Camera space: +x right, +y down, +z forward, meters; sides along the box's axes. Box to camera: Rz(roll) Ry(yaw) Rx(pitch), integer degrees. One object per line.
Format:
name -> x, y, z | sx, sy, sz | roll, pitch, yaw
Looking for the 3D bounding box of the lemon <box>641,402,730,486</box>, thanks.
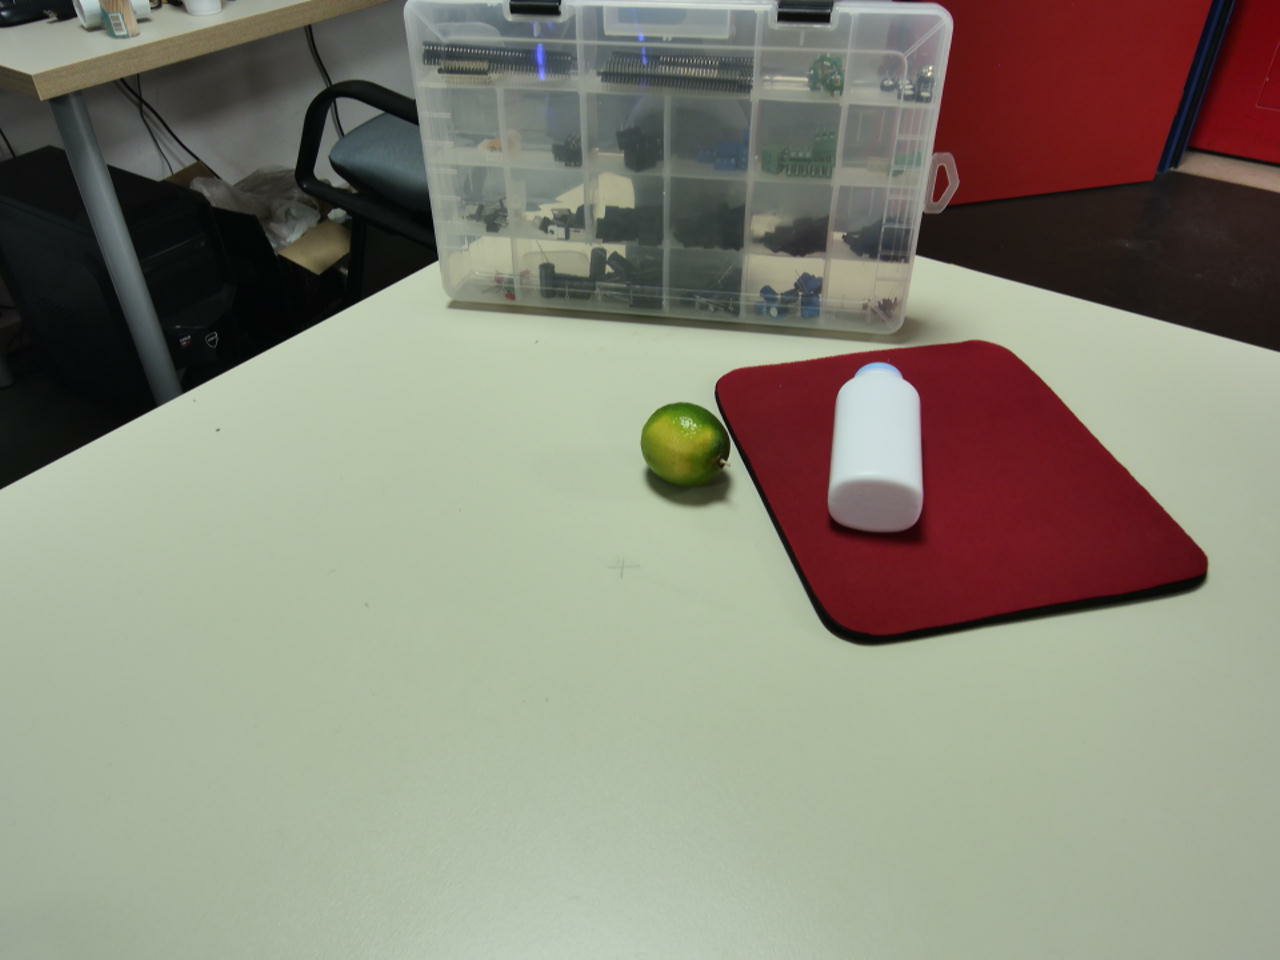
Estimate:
lemon -> 0.028, -0.022, 0.619 | 0.054, 0.050, 0.055 | -1, 38, -2
